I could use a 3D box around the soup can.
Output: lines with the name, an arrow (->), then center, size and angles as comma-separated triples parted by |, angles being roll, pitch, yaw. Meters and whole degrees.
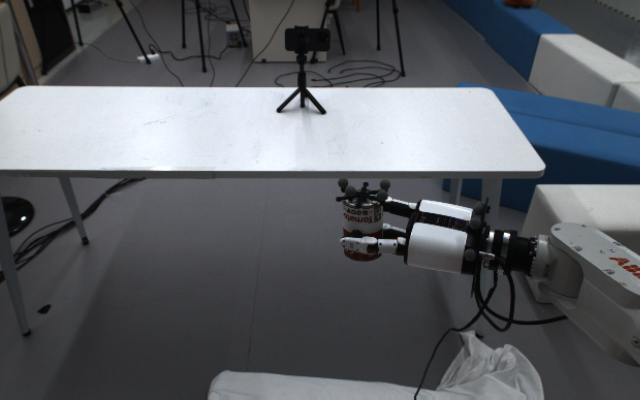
soup can -> 0.073, 0.040, 0.801 | 0.067, 0.101, 0.067 | -4, 27, 2
